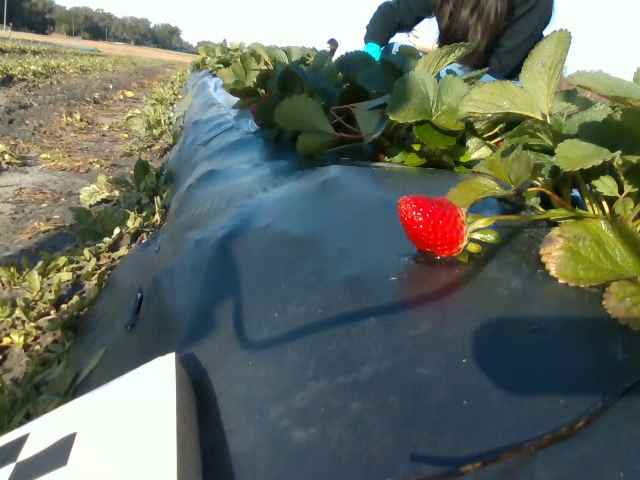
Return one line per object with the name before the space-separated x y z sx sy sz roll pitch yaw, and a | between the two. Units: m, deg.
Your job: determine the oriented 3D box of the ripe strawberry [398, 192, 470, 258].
ripe strawberry | 0.044 -0.008 0.242 0.041 0.031 0.028 32 -20 -32
